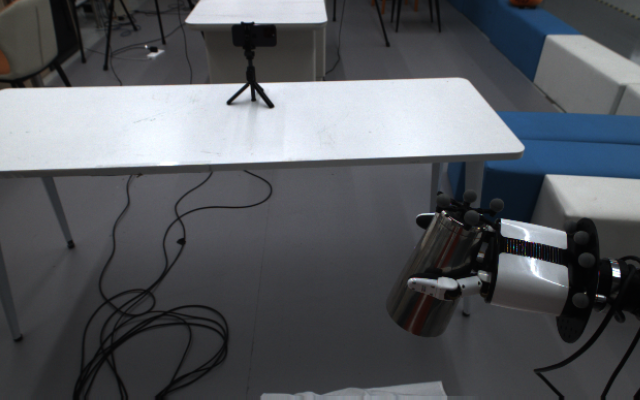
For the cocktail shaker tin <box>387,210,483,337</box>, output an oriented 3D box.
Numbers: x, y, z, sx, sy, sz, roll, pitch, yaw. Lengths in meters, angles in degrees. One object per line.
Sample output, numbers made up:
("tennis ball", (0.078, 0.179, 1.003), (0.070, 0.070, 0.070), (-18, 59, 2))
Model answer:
("cocktail shaker tin", (0.162, 0.088, 0.649), (0.093, 0.170, 0.093), (12, 29, -7))
